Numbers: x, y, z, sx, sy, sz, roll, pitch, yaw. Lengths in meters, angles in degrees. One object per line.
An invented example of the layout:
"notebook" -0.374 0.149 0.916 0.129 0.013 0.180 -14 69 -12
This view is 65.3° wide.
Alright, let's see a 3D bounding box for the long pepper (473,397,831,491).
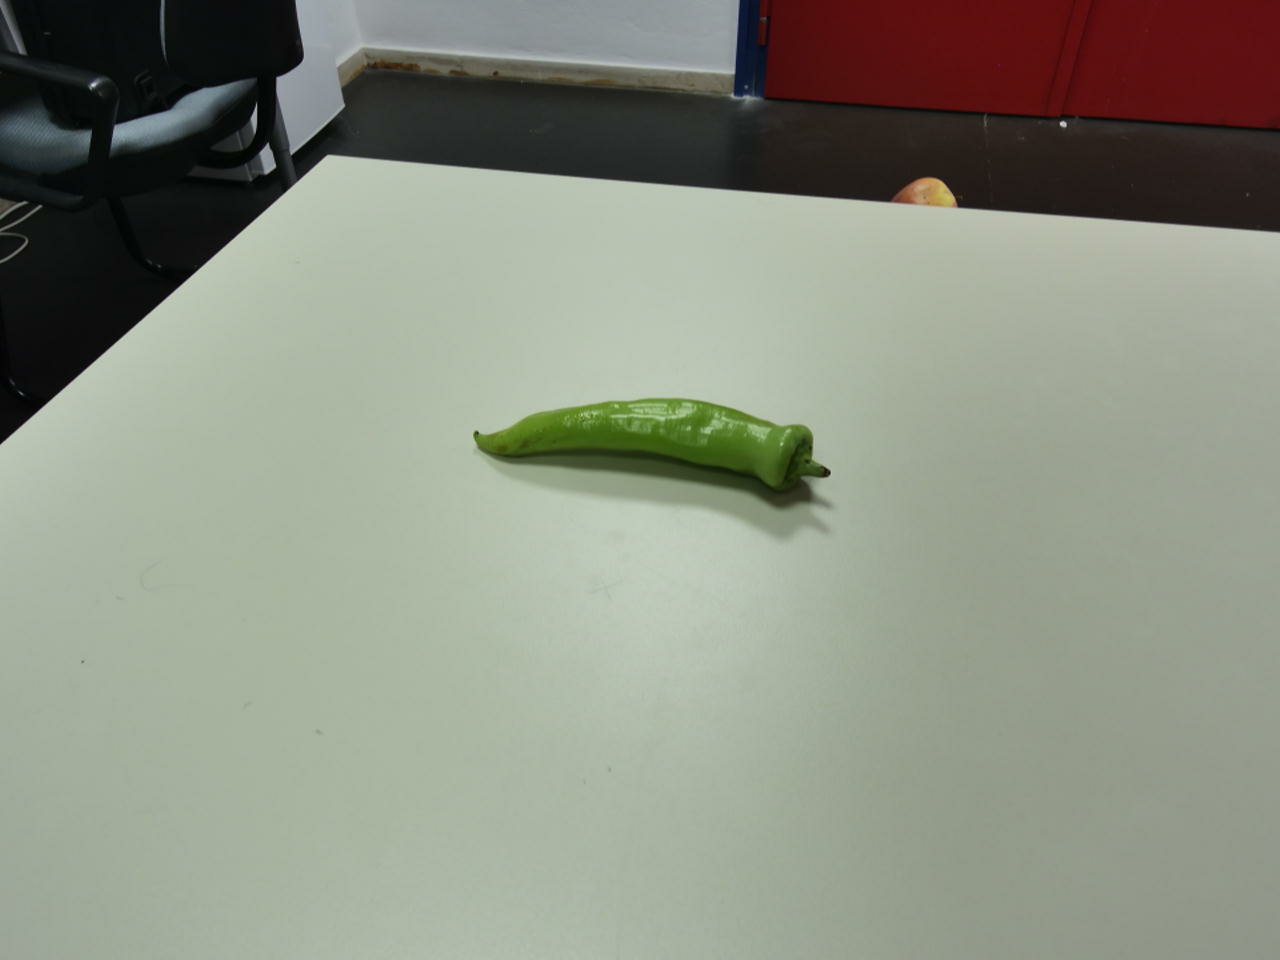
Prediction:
"long pepper" 0.005 -0.025 0.535 0.197 0.038 0.046 9 40 12
